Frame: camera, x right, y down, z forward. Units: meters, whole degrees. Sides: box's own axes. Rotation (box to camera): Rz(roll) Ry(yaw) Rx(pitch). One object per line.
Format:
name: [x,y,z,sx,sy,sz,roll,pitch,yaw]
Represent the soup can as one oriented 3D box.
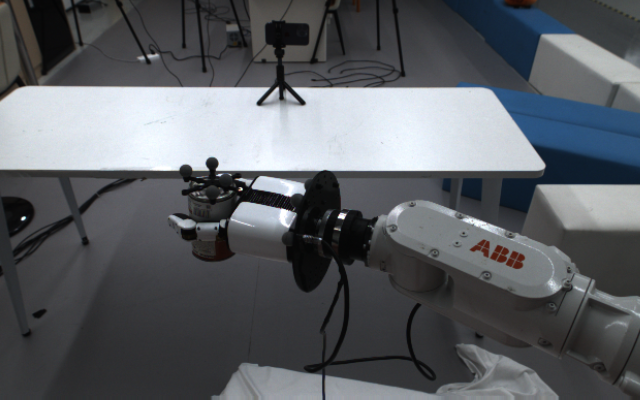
soup can: [-0.148,0.028,0.676,0.067,0.101,0.067,4,31,-2]
